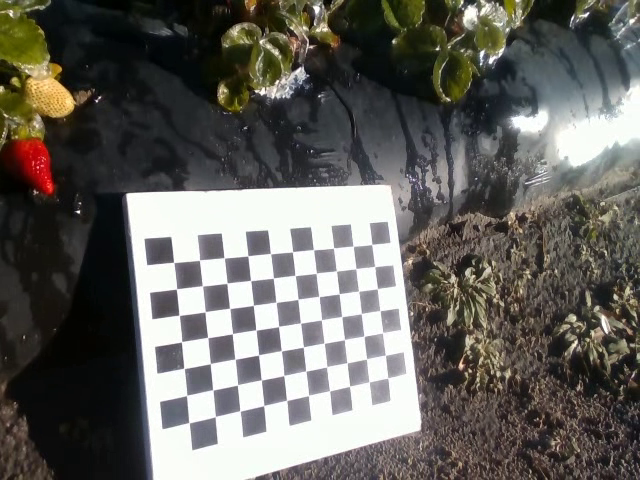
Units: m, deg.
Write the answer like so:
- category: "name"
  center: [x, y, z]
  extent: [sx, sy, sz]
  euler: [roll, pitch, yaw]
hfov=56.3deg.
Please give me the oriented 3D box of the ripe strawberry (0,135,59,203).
- category: "ripe strawberry"
  center: [-0.233, -0.061, 0.488]
  extent: [0.041, 0.052, 0.040]
  euler: [-25, -3, -30]
